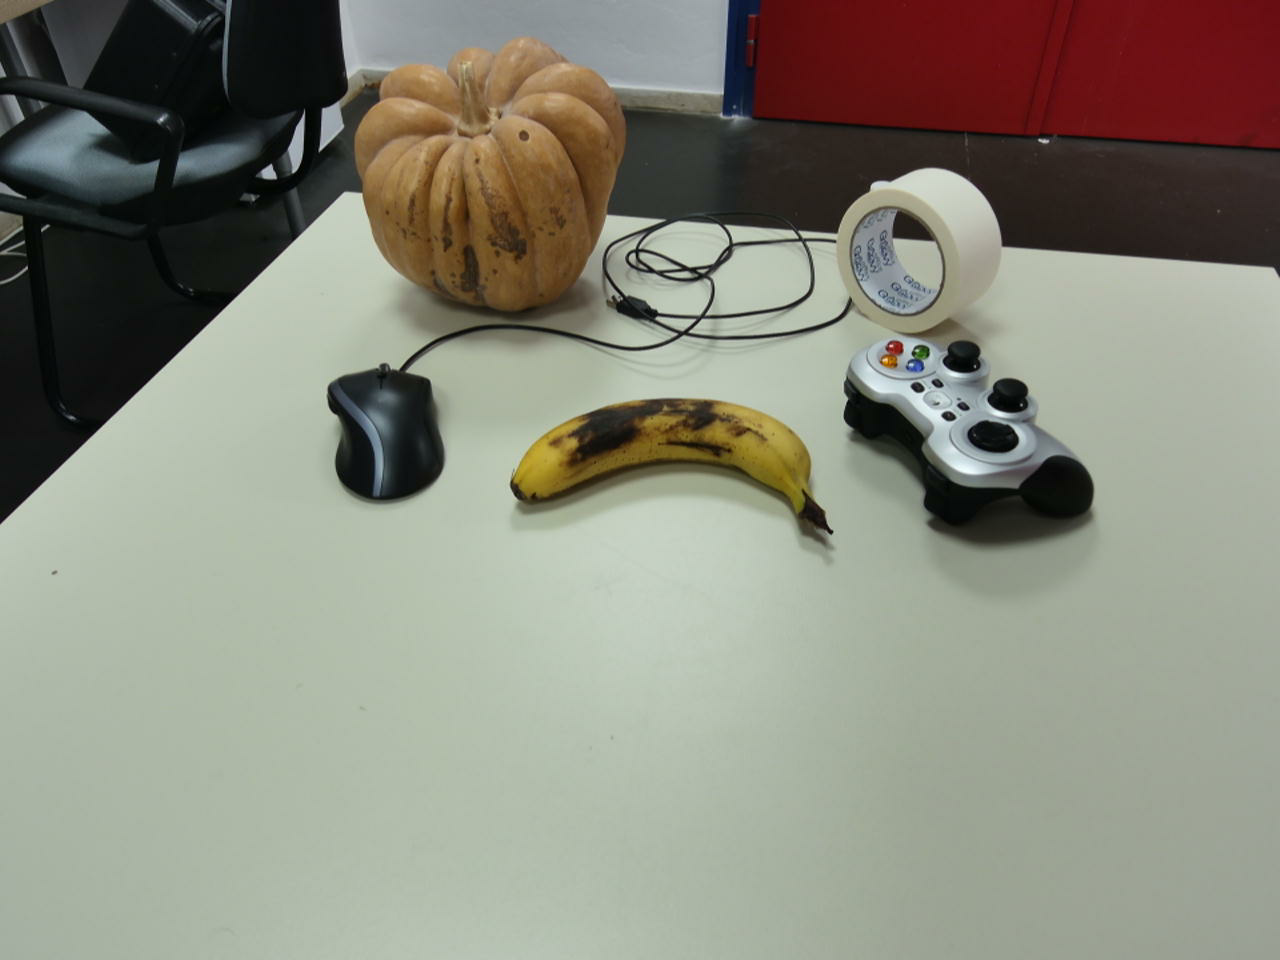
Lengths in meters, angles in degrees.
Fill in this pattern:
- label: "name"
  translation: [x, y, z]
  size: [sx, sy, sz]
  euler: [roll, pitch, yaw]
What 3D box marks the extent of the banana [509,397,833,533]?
- label: "banana"
  translation: [0.022, -0.015, 0.601]
  size: [0.187, 0.039, 0.094]
  euler: [7, 40, 8]
